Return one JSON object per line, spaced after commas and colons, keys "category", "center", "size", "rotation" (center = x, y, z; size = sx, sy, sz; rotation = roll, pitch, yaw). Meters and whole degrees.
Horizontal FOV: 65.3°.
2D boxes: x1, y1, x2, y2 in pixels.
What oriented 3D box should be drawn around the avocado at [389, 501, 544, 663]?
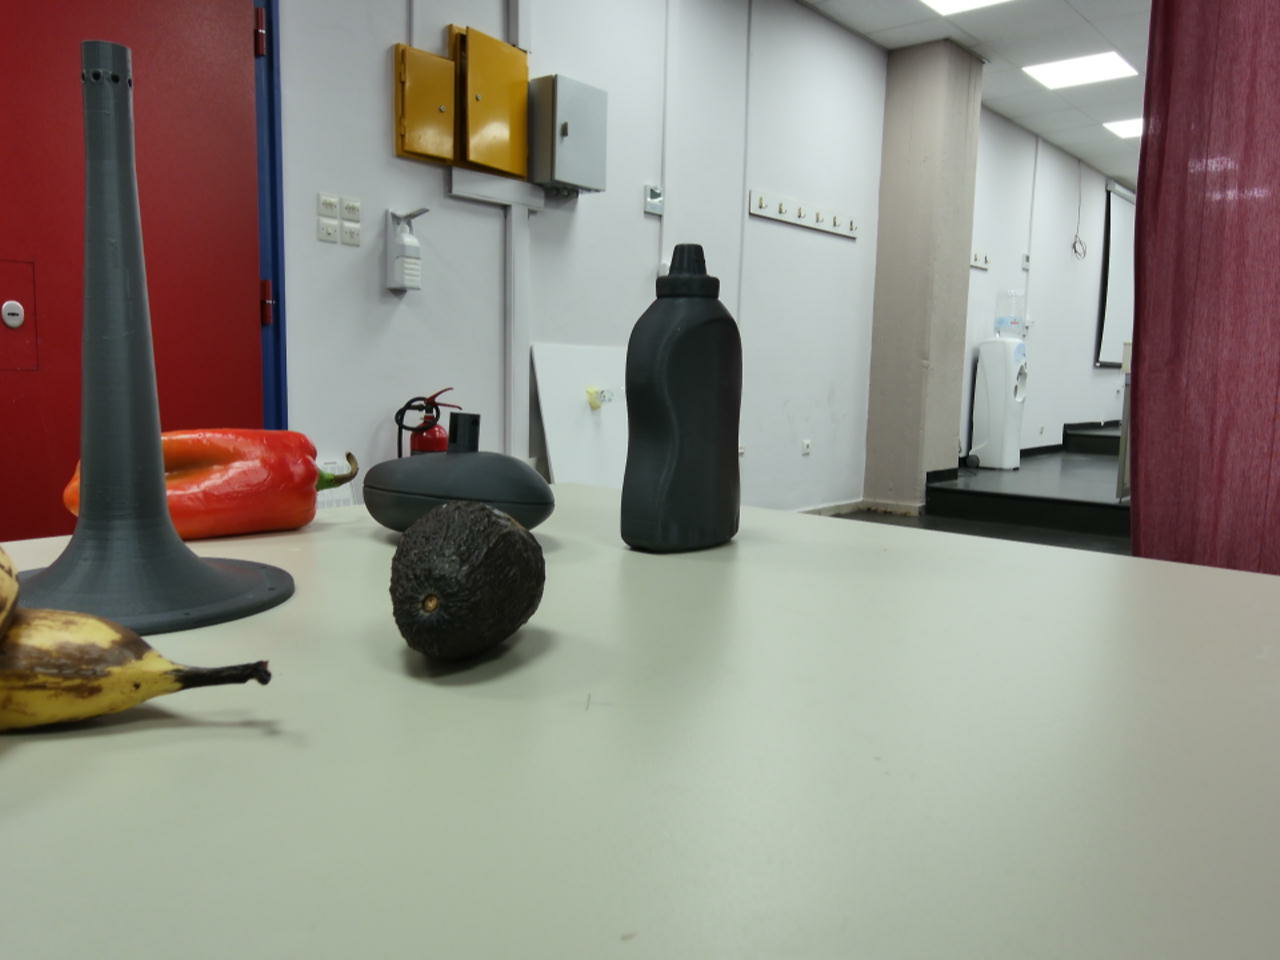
{"category": "avocado", "center": [-0.074, 0.041, 0.410], "size": [0.062, 0.062, 0.092], "rotation": [2, 5, 16]}
